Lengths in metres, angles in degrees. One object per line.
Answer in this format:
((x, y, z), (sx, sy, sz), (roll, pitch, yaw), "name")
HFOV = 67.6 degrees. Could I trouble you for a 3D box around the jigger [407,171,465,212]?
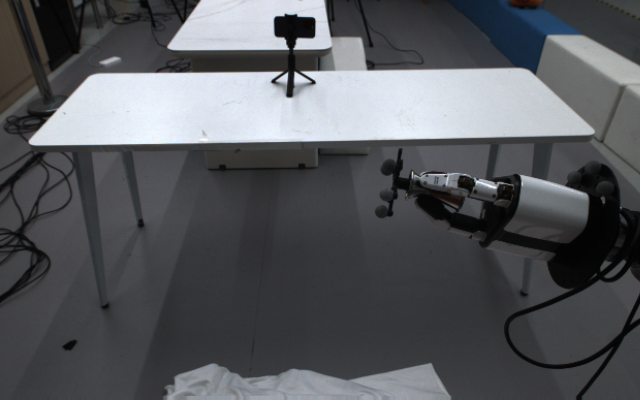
((0.152, -0.017, 0.612), (0.071, 0.043, 0.043), (11, 35, 3), "jigger")
